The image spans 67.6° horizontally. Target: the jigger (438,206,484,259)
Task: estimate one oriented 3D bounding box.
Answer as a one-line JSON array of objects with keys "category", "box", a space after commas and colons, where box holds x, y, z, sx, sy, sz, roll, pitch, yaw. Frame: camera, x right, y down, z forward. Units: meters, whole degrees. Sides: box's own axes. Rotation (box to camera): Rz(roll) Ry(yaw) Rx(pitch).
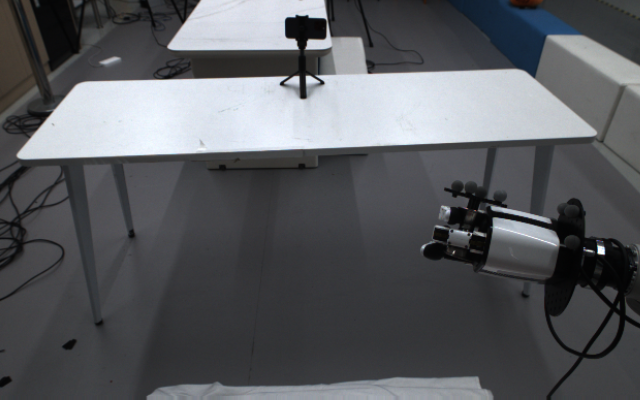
[{"category": "jigger", "box": [0.202, 0.046, 0.673, 0.043, 0.071, 0.043, 17, 2, -1]}]
